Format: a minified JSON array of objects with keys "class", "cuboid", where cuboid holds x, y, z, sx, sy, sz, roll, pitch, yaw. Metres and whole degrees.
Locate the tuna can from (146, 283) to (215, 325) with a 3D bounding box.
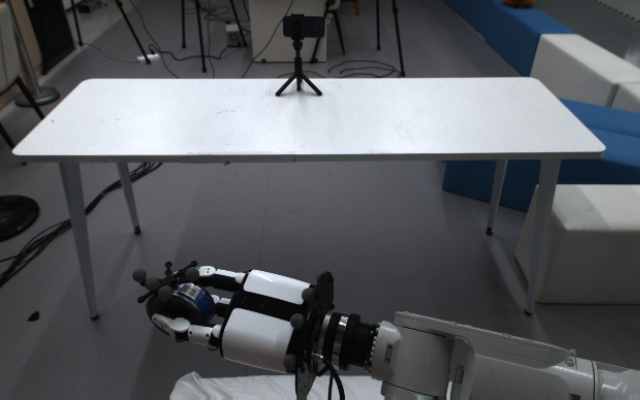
[{"class":"tuna can","cuboid":[-0.176,0.147,0.644,0.085,0.085,0.034,9,33,10]}]
